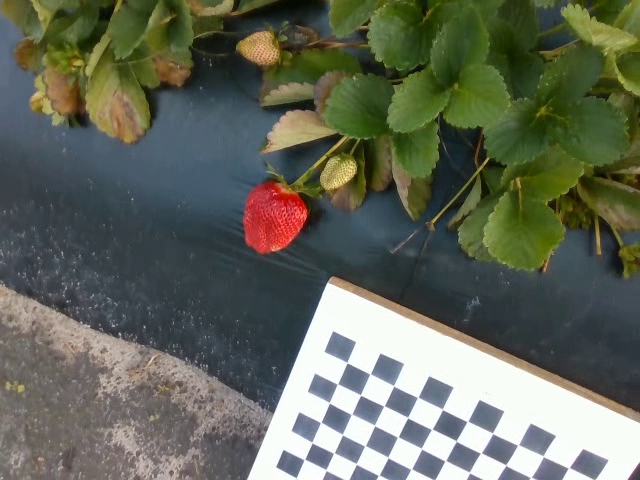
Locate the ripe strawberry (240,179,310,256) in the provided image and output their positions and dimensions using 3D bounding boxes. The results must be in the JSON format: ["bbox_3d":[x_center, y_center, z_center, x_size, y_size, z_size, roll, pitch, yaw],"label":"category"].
[{"bbox_3d":[-0.047,-0.020,0.570,0.067,0.075,0.039,29,19,9],"label":"ripe strawberry"}]
